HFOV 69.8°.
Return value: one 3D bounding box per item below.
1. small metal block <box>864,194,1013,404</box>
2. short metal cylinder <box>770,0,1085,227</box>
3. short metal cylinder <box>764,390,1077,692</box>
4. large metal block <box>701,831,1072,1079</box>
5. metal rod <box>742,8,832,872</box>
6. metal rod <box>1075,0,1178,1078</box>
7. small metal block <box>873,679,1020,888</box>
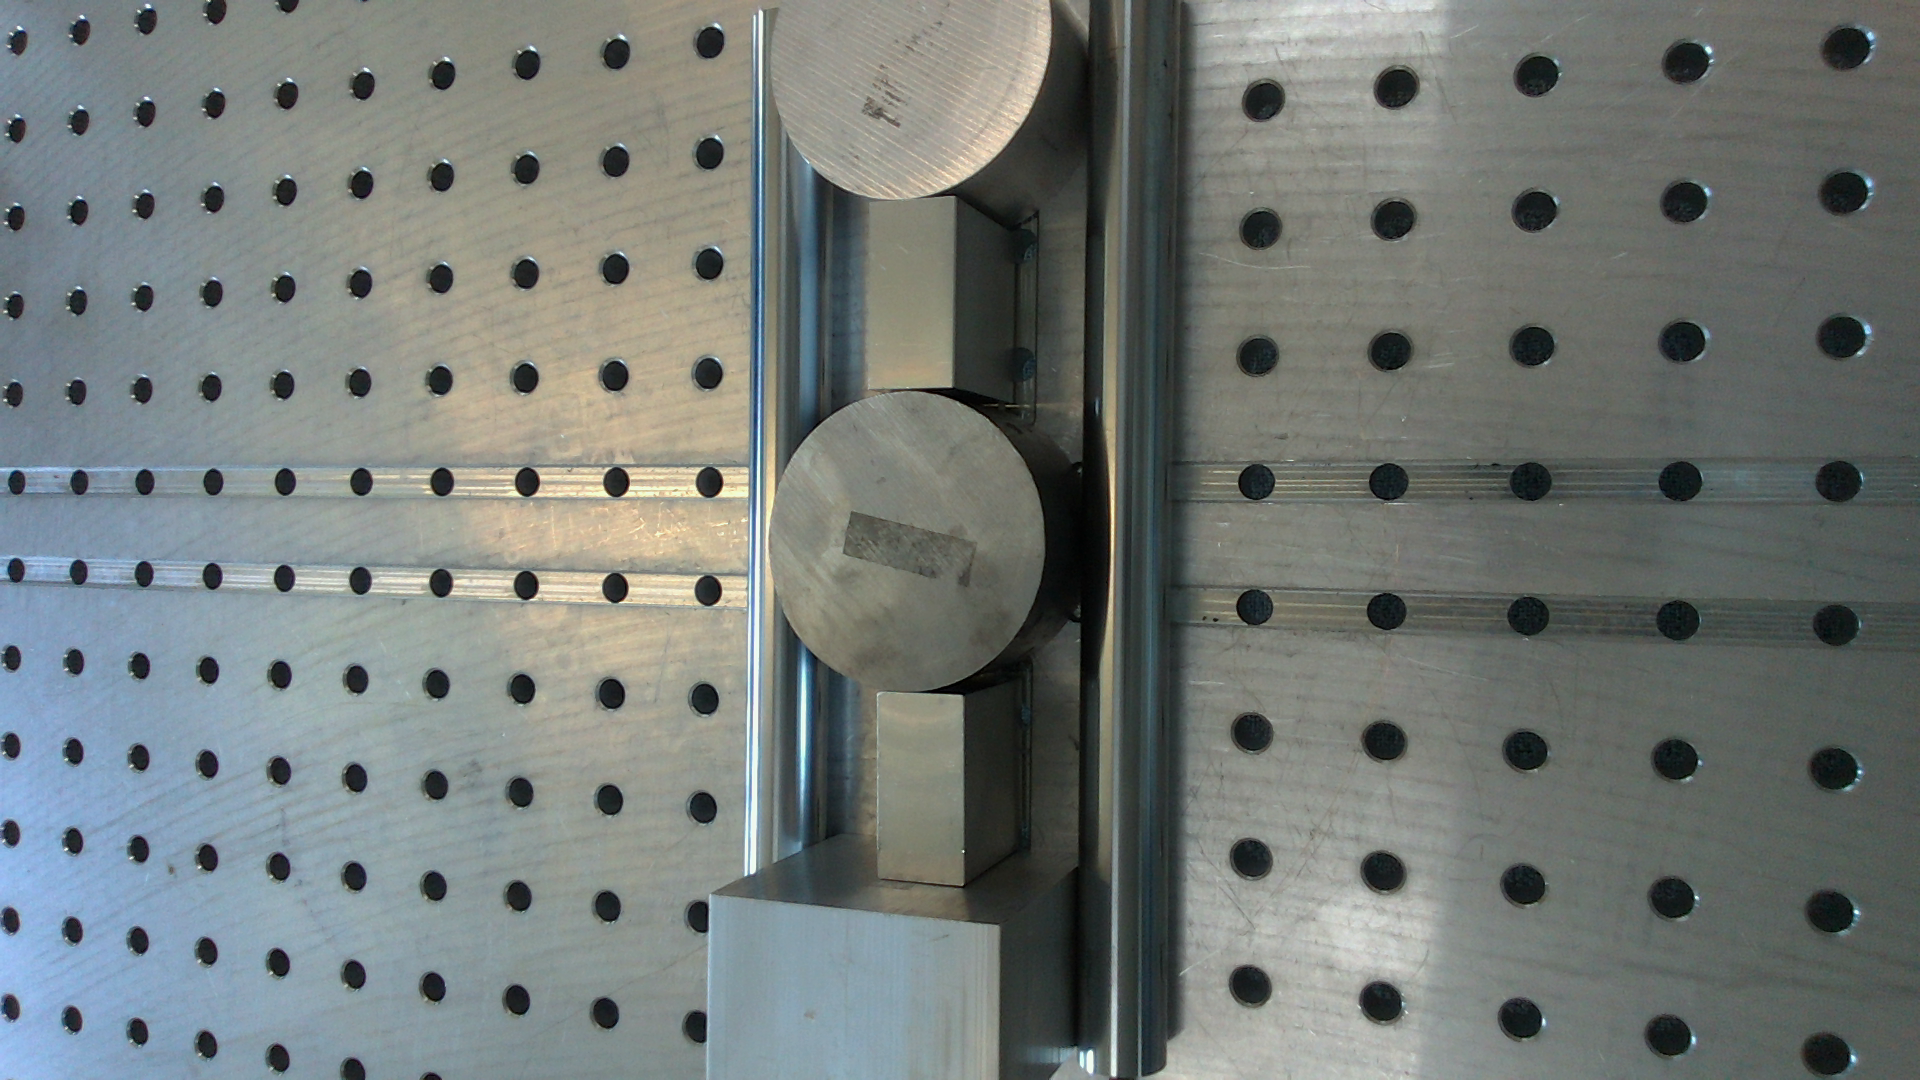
[{"bbox_3d":[-0.005,-0.065,0.386,0.025,0.050,0.050,1,90,20],"label":"small metal block"},{"bbox_3d":[-0.006,-0.130,0.387,0.080,0.050,0.080,0,90,20],"label":"short metal cylinder"},{"bbox_3d":[-0.008,0.000,0.388,0.080,0.050,0.080,0,90,20],"label":"short metal cylinder"},{"bbox_3d":[-0.014,0.115,0.375,0.080,0.080,0.050,1,90,20],"label":"large metal block"},{"bbox_3d":[-0.052,-0.006,0.416,0.025,0.025,0.300,1,90,20],"label":"metal rod"},{"bbox_3d":[0.046,-0.006,0.381,0.025,0.025,0.300,1,90,20],"label":"metal rod"},{"bbox_3d":[-0.003,0.066,0.385,0.025,0.050,0.050,0,90,20],"label":"small metal block"}]
